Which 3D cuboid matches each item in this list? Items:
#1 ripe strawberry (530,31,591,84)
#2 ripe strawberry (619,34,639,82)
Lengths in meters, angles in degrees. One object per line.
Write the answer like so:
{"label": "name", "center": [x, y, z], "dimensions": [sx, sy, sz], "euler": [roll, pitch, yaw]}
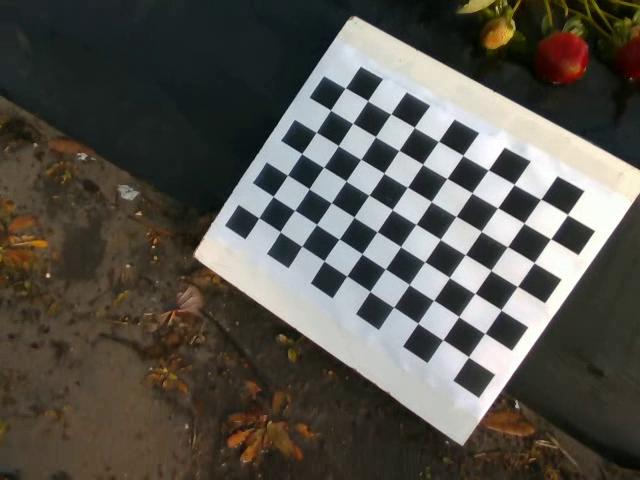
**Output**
{"label": "ripe strawberry", "center": [0.218, -0.170, 0.608], "dimensions": [0.050, 0.050, 0.065], "euler": [-8, 24, 11]}
{"label": "ripe strawberry", "center": [0.299, -0.175, 0.635], "dimensions": [0.044, 0.042, 0.055], "euler": [-31, 25, 5]}
